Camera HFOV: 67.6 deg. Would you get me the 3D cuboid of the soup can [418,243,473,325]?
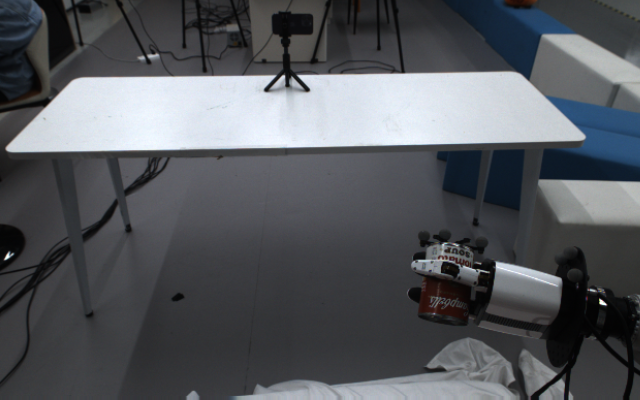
[{"bbox_3d":[0.177,0.116,0.669,0.067,0.067,0.101,9,70,10],"label":"soup can"}]
